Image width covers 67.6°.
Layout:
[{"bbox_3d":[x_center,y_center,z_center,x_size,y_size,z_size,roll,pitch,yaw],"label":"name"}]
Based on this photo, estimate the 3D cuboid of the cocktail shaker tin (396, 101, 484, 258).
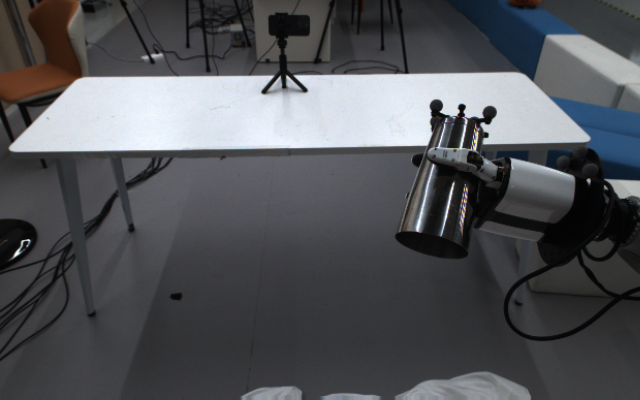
[{"bbox_3d":[0.164,-0.020,0.626,0.093,0.093,0.170,13,70,15],"label":"cocktail shaker tin"}]
